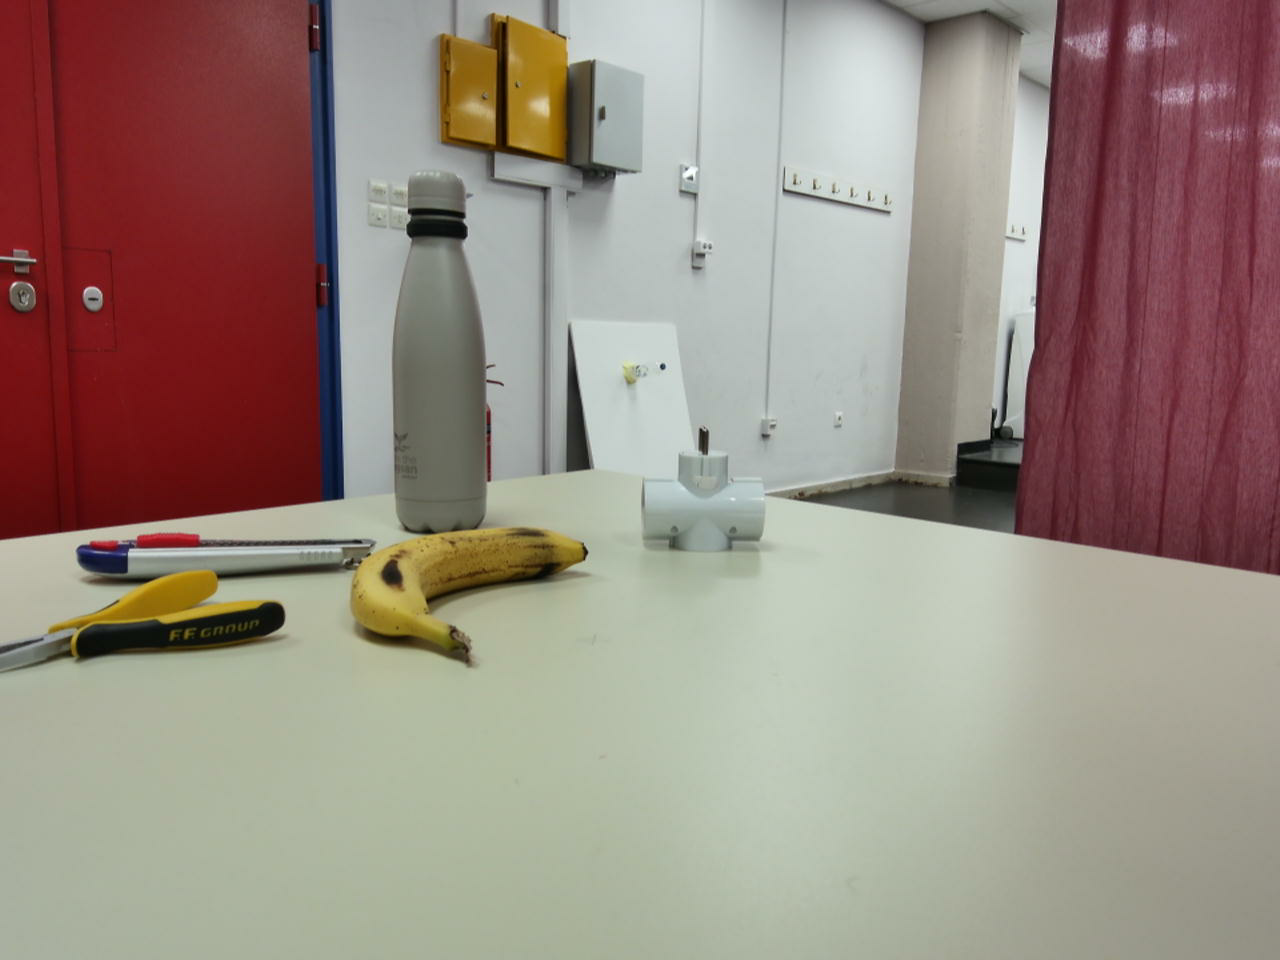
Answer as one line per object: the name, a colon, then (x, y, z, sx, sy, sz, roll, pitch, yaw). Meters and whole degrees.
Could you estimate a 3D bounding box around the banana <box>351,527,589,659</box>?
banana: (-0.105, 0.055, 0.579, 0.097, 0.038, 0.186, 3, 7, 14)
